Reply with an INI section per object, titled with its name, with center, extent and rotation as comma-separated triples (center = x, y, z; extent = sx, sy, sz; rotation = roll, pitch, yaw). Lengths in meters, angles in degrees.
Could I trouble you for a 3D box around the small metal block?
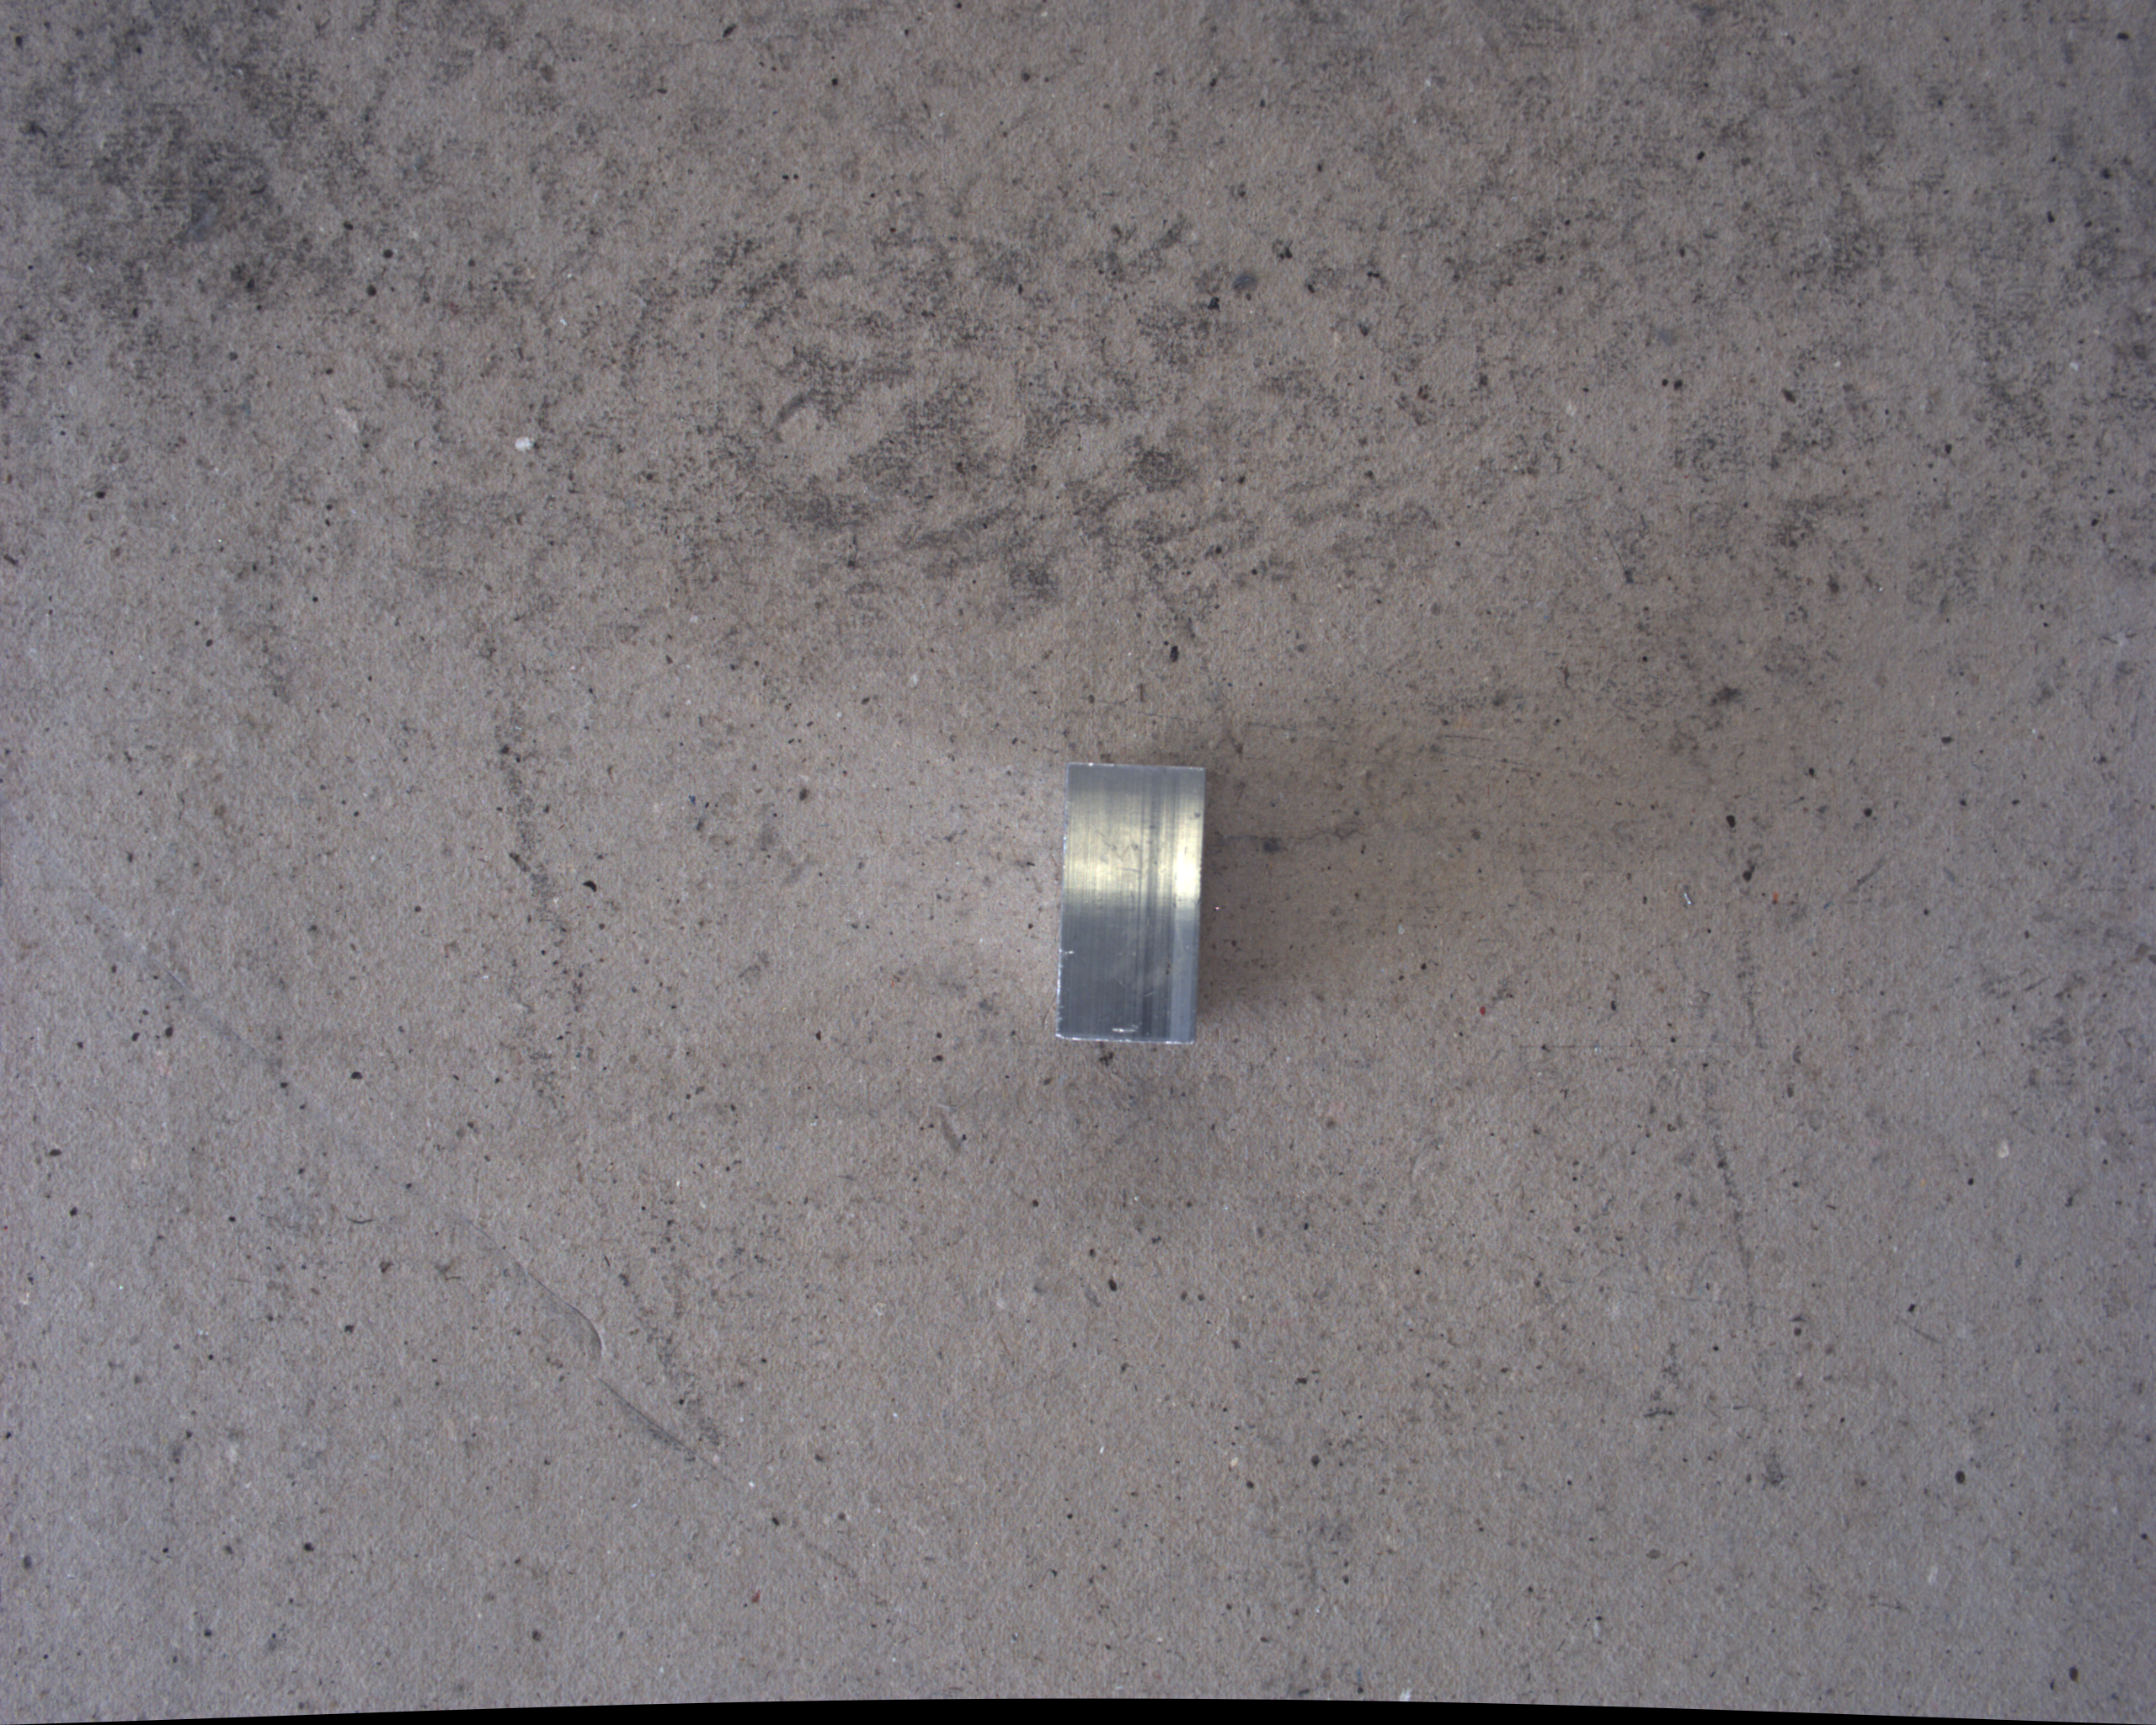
[small metal block]
center = 0.009, 0.007, 0.399
extent = 0.025, 0.050, 0.050
rotation = 2, 90, -1
